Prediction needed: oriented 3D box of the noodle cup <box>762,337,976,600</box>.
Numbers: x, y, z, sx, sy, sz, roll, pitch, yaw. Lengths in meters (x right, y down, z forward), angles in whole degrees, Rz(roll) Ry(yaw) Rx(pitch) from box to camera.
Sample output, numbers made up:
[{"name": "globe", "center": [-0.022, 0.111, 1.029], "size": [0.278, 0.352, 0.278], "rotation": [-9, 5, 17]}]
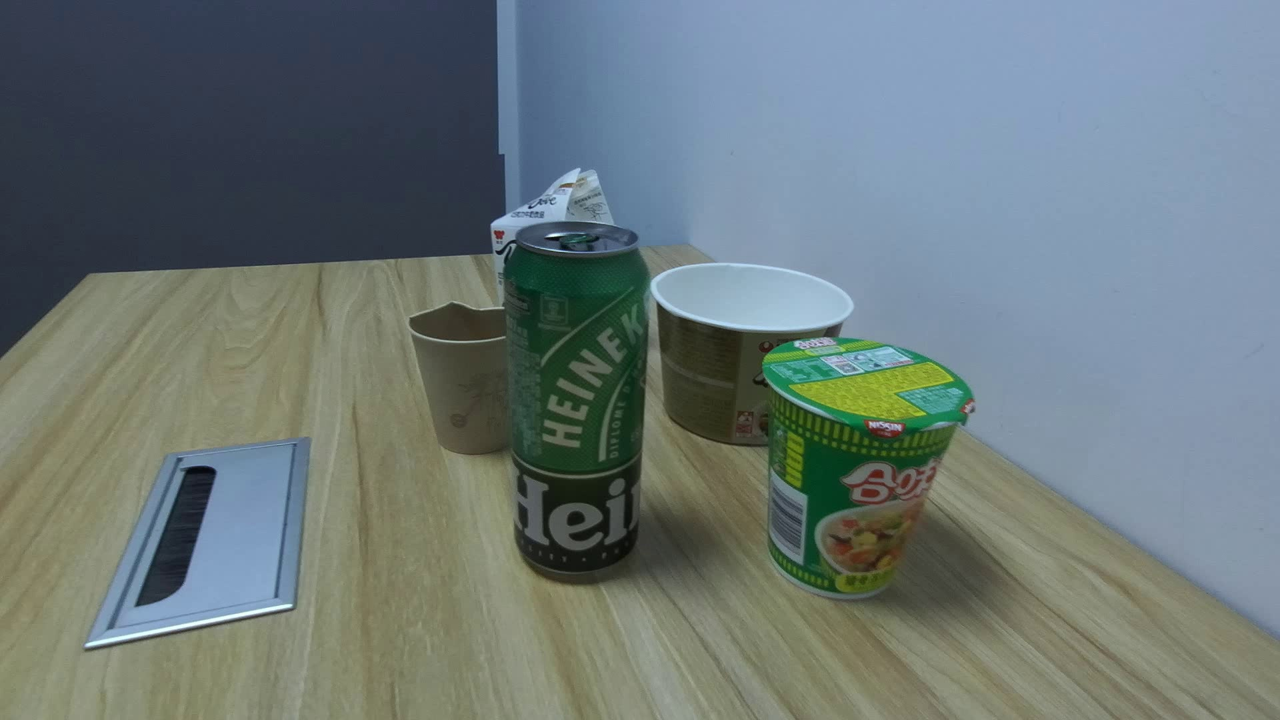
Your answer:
[{"name": "noodle cup", "center": [0.104, 0.056, 0.358], "size": [0.097, 0.110, 0.097], "rotation": [3, 25, -1]}]

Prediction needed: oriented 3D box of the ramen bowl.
[{"name": "ramen bowl", "center": [0.076, -0.006, 0.515], "size": [0.140, 0.095, 0.140], "rotation": [2, 26, -1]}]

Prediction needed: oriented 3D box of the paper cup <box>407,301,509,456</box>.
[{"name": "paper cup", "center": [-0.108, 0.014, 0.467], "size": [0.068, 0.081, 0.074], "rotation": [20, 29, 34]}]

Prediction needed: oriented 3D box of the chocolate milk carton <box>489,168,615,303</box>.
[{"name": "chocolate milk carton", "center": [-0.067, -0.075, 0.588], "size": [0.089, 0.155, 0.077], "rotation": [6, 16, 42]}]

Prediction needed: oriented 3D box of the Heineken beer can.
[{"name": "Heineken beer can", "center": [-0.031, 0.023, 0.350], "size": [0.067, 0.169, 0.067], "rotation": [2, 22, 0]}]
